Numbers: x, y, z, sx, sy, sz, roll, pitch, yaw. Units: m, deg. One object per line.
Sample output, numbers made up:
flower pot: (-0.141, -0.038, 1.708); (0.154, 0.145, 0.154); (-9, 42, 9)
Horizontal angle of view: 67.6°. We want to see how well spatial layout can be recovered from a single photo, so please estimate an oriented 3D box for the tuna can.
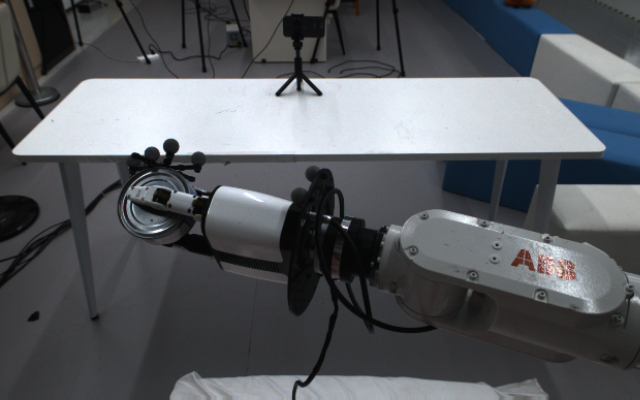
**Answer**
tuna can: (-0.180, 0.009, 0.556); (0.085, 0.034, 0.085); (-2, 69, 6)
